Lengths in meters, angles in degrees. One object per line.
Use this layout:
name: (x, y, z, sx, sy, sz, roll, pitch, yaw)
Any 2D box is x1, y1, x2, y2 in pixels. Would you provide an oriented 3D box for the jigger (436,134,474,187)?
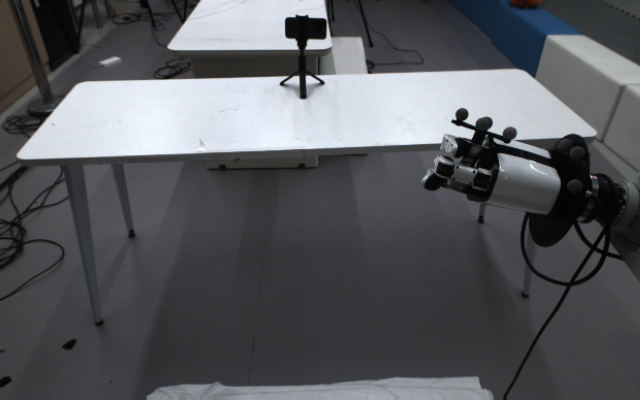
jigger: (0.203, -0.047, 0.669, 0.043, 0.071, 0.043, 18, 17, -6)
